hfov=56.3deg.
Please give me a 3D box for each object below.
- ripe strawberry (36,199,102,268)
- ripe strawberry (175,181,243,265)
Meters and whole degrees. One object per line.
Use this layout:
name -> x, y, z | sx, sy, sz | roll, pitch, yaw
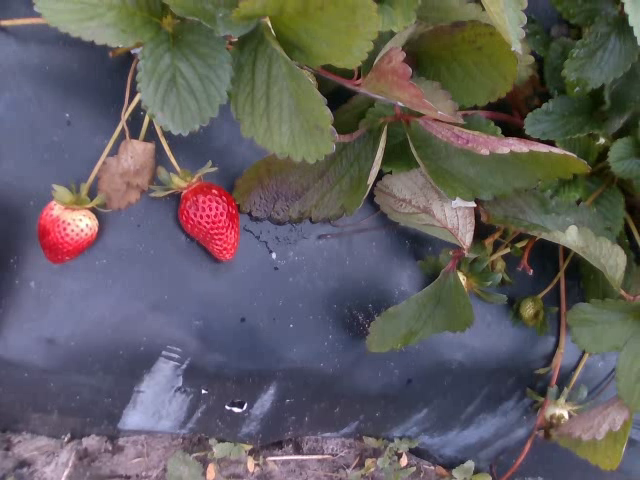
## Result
ripe strawberry -> -0.142, -0.003, 0.331 | 0.036, 0.041, 0.028 | 20, 18, -11
ripe strawberry -> -0.064, -0.011, 0.350 | 0.044, 0.059, 0.042 | -15, 20, 20
